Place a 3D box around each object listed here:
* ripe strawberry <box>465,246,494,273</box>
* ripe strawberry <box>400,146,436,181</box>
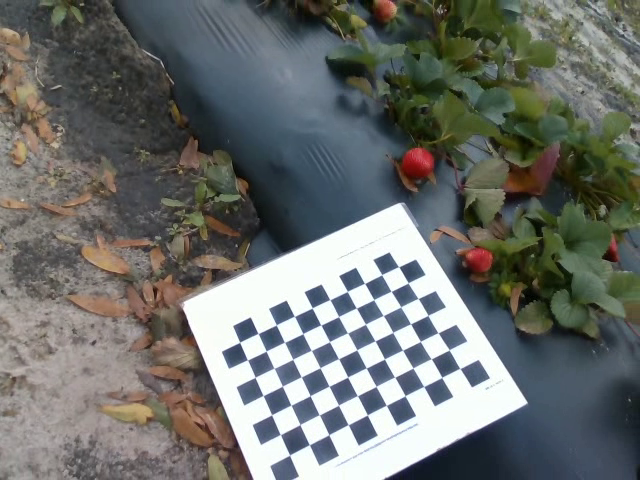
[{"bbox_3d":[0.193,0.025,0.756,0.037,0.041,0.042,-35,-30,34],"label":"ripe strawberry"},{"bbox_3d":[0.132,-0.101,0.820,0.046,0.043,0.065,-21,14,-3],"label":"ripe strawberry"}]
